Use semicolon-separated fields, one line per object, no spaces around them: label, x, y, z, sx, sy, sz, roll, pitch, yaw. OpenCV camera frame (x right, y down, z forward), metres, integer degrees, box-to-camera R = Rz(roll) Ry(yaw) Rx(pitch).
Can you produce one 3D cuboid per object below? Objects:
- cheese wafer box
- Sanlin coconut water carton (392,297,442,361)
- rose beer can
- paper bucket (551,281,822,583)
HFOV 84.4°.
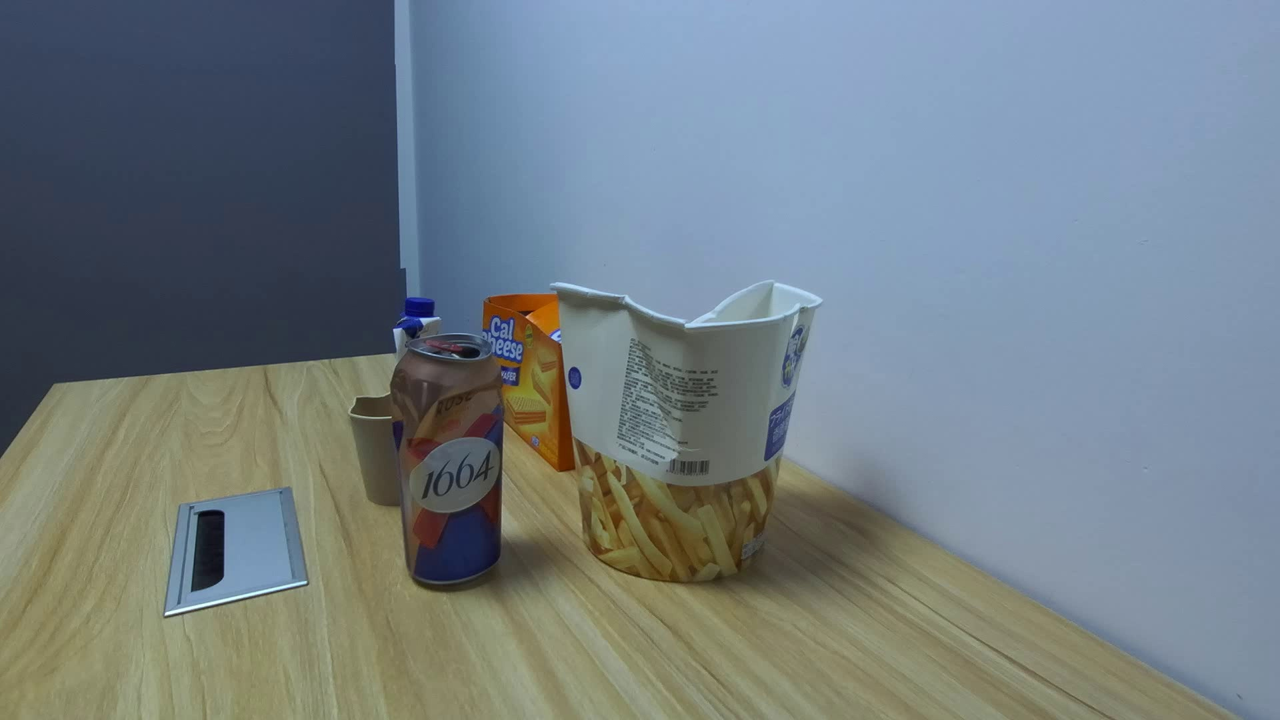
cheese wafer box;-0.075;0.011;0.786;0.153;0.132;0.229;-9;21;-31
Sanlin coconut water carton;-0.229;0.010;0.720;0.056;0.145;0.069;5;24;32
rose beer can;-0.128;0.070;0.484;0.076;0.167;0.065;-8;20;-40
paper bucket;0.039;0.042;0.543;0.163;0.202;0.168;-9;23;-37
